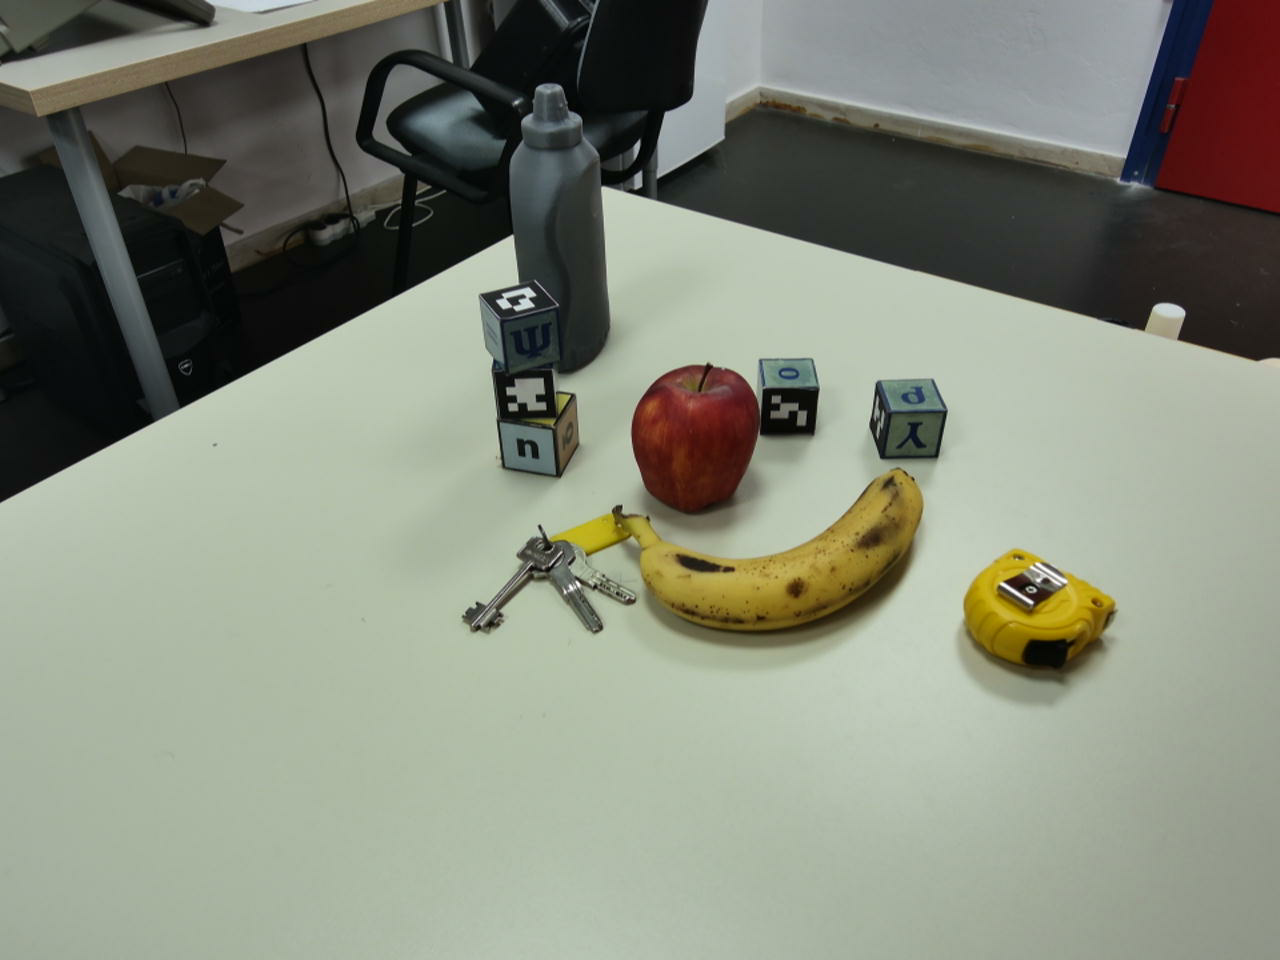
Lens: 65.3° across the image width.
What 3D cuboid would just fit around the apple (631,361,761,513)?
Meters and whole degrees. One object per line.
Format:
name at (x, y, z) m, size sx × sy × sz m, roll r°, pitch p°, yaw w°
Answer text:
apple at (0.034, -0.032, 0.599) m, size 0.083 × 0.090 × 0.083 m, roll -1°, pitch 37°, yaw 1°
